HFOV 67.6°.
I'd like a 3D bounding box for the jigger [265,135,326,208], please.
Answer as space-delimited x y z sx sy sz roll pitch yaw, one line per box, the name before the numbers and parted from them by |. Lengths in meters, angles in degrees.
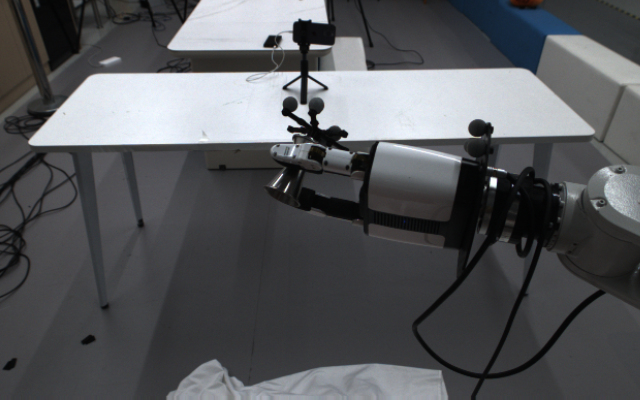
jigger | -0.027 -0.034 0.524 0.043 0.043 0.071 20 74 24
